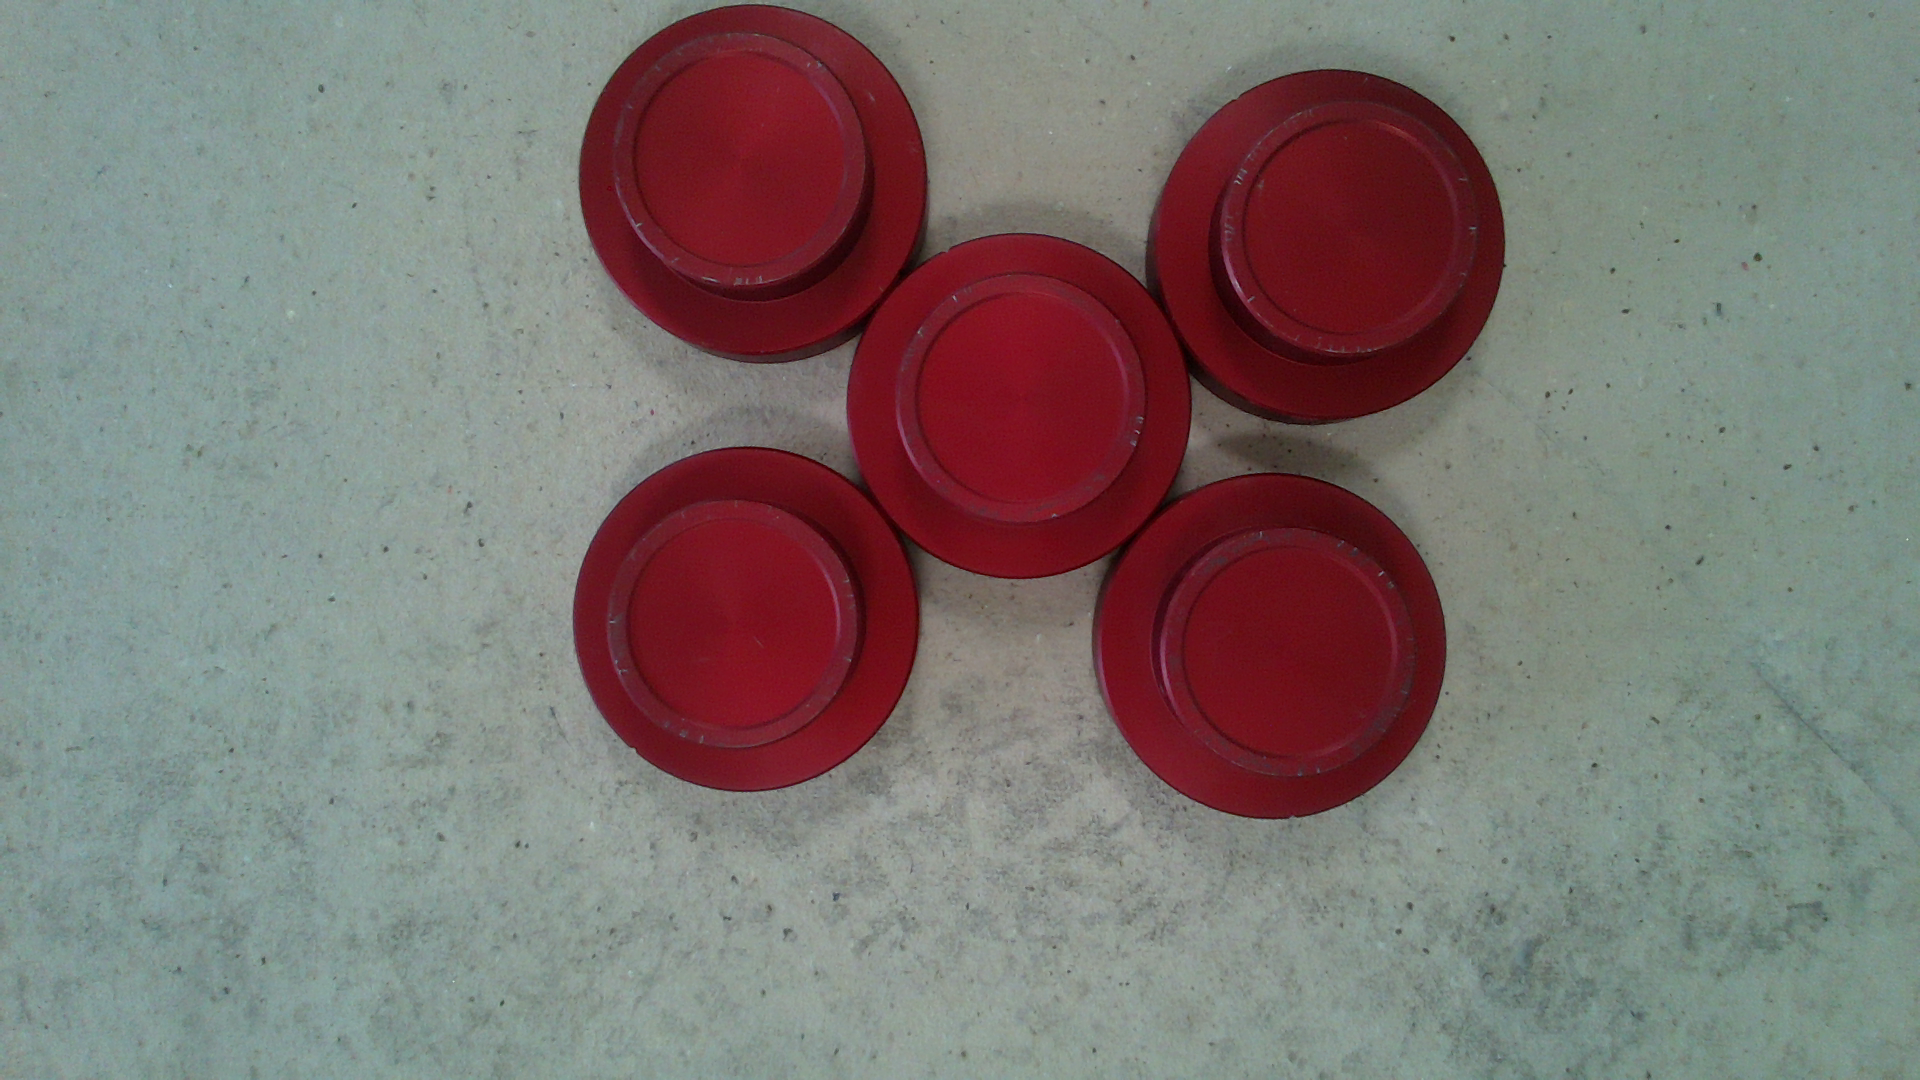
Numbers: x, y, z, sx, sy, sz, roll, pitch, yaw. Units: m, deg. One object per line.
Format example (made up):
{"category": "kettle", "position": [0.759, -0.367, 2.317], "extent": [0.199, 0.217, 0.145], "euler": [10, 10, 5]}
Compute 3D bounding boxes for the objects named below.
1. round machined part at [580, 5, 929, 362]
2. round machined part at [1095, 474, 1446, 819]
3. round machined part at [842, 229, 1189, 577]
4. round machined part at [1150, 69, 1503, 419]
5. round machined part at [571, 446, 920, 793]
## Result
{"category": "round machined part", "position": [-0.058, -0.101, 0.386], "extent": [0.098, 0.042, 0.098], "euler": [0, 90, 0]}
{"category": "round machined part", "position": [0.088, 0.030, 0.387], "extent": [0.098, 0.042, 0.098], "euler": [0, 92, 1]}
{"category": "round machined part", "position": [0.016, -0.038, 0.387], "extent": [0.098, 0.042, 0.098], "euler": [0, 92, 1]}
{"category": "round machined part", "position": [0.104, -0.083, 0.386], "extent": [0.098, 0.042, 0.098], "euler": [0, 92, 1]}
{"category": "round machined part", "position": [-0.061, 0.022, 0.386], "extent": [0.098, 0.042, 0.098], "euler": [0, 91, 0]}
